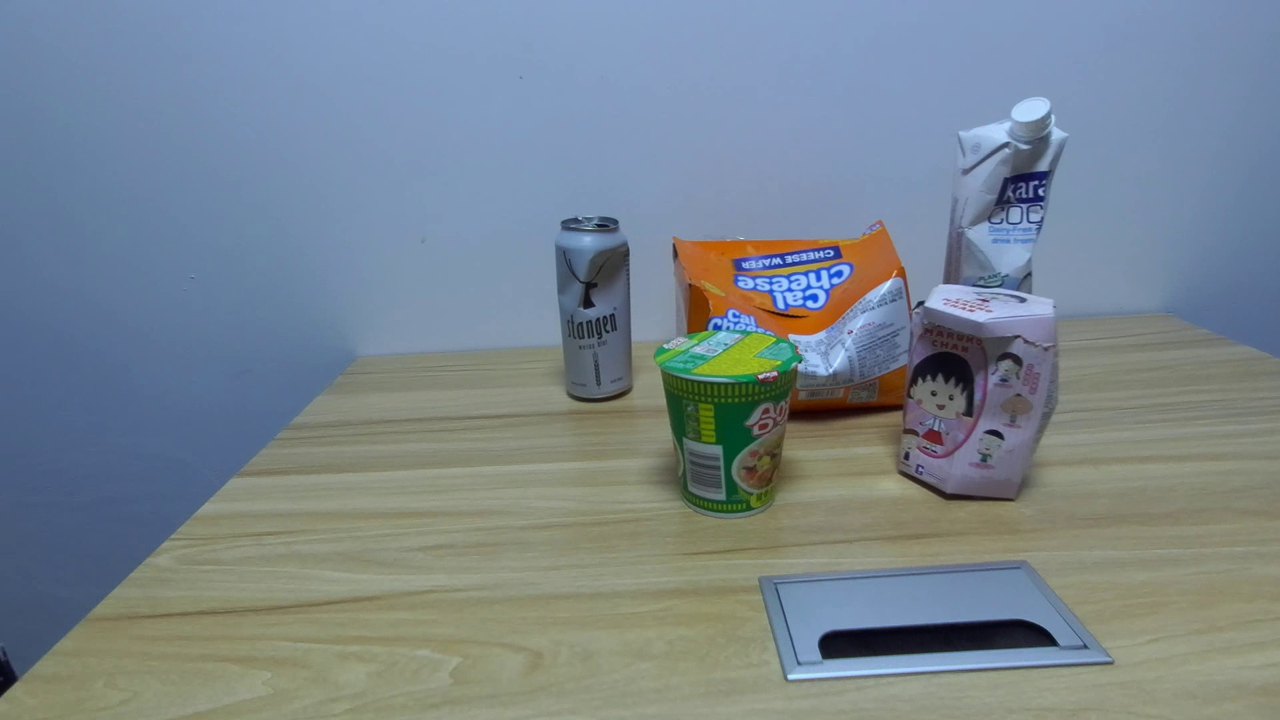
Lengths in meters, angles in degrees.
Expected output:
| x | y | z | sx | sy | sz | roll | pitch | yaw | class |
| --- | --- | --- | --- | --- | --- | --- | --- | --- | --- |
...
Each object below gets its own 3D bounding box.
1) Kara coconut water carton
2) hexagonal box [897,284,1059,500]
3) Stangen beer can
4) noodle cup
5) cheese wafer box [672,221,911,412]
| x | y | z | sx | sy | sz | roll | pitch | yaw | class |
| --- | --- | --- | --- | --- | --- | --- | --- | --- | --- |
| 0.325 | -0.103 | 0.648 | 0.083 | 0.256 | 0.078 | -3 | 23 | 0 | Kara coconut water carton |
| 0.238 | 0.021 | 0.503 | 0.090 | 0.134 | 0.091 | 4 | 20 | 10 | hexagonal box |
| -0.042 | -0.049 | 0.671 | 0.070 | 0.173 | 0.069 | -3 | 19 | 1 | Stangen beer can |
| 0.059 | 0.045 | 0.487 | 0.097 | 0.110 | 0.097 | -2 | 20 | 1 | noodle cup |
| 0.142 | -0.039 | 0.659 | 0.219 | 0.145 | 0.191 | -2 | 20 | 0 | cheese wafer box |
